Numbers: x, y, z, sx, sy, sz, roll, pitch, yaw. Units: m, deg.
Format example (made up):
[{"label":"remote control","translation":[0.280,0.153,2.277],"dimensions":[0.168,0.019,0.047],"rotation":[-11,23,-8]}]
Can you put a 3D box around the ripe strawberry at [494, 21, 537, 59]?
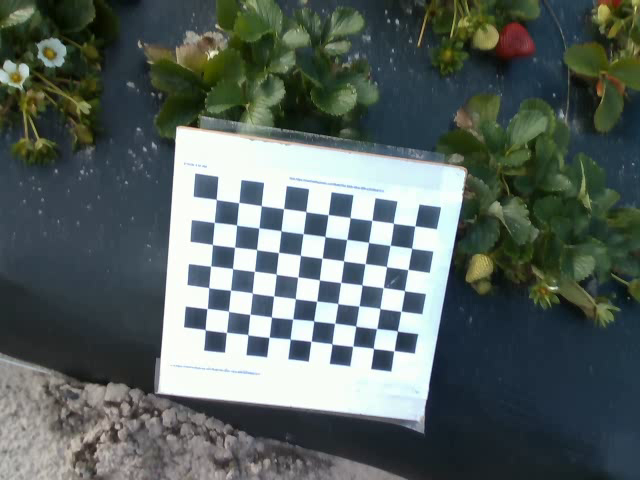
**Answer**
[{"label":"ripe strawberry","translation":[0.274,-0.258,0.883],"dimensions":[0.048,0.051,0.055],"rotation":[32,12,-45]}]
